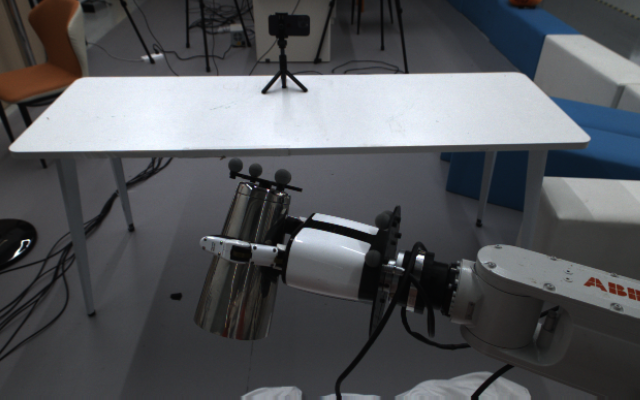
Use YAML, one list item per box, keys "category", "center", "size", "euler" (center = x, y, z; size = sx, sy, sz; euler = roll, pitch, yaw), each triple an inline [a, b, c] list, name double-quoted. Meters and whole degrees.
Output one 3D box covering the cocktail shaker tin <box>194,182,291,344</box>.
- category: "cocktail shaker tin"
  center: [-0.086, 0.069, 0.580]
  size: [0.093, 0.170, 0.093]
  euler: [13, 2, 0]
